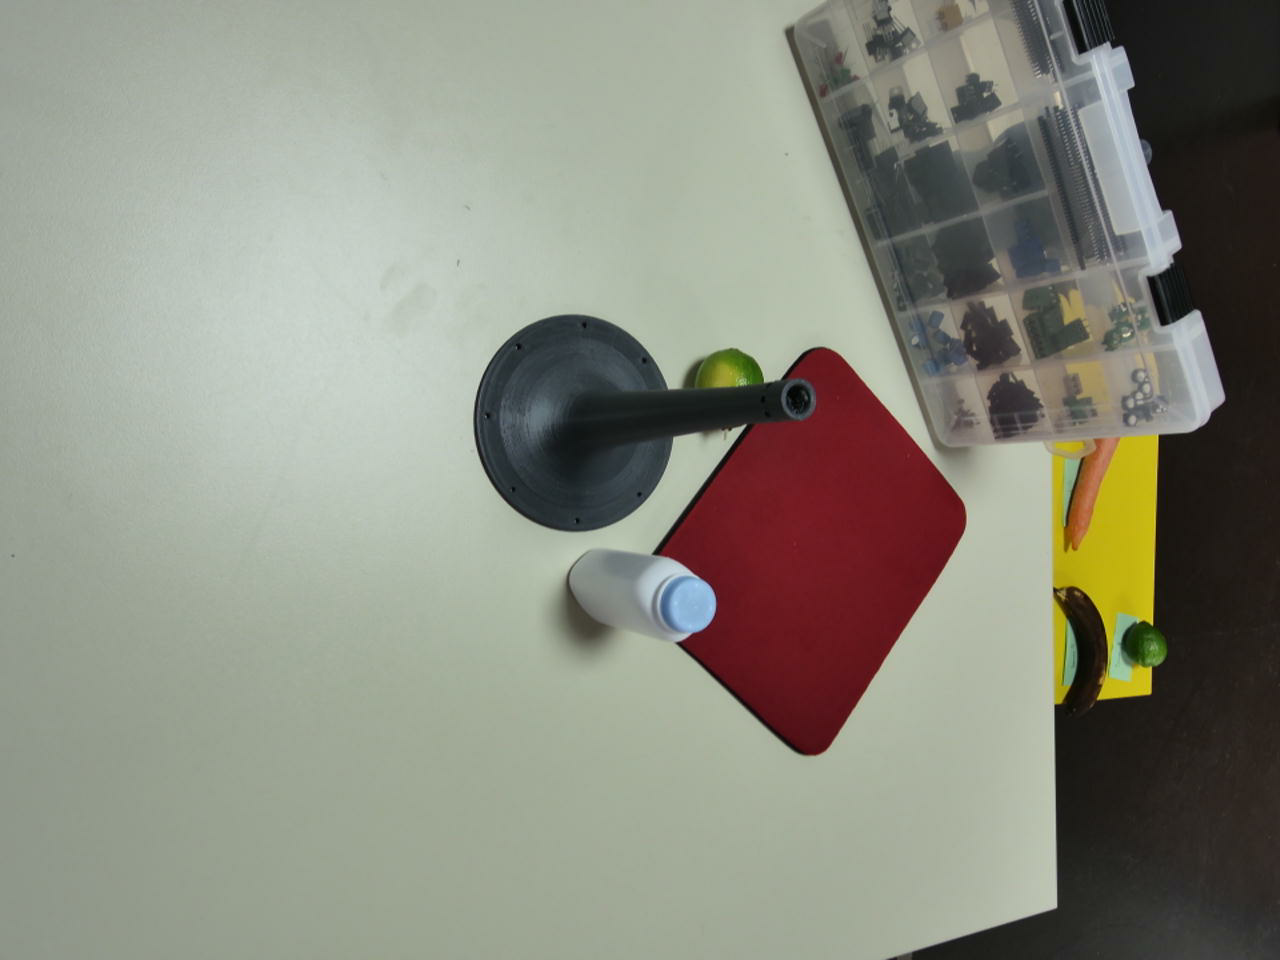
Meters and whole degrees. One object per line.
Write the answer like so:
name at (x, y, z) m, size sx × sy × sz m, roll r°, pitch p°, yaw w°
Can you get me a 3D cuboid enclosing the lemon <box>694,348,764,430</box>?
lemon at (0.065, -0.067, 0.727) m, size 0.055 × 0.050 × 0.054 m, roll -44°, pitch 110°, yaw -21°
